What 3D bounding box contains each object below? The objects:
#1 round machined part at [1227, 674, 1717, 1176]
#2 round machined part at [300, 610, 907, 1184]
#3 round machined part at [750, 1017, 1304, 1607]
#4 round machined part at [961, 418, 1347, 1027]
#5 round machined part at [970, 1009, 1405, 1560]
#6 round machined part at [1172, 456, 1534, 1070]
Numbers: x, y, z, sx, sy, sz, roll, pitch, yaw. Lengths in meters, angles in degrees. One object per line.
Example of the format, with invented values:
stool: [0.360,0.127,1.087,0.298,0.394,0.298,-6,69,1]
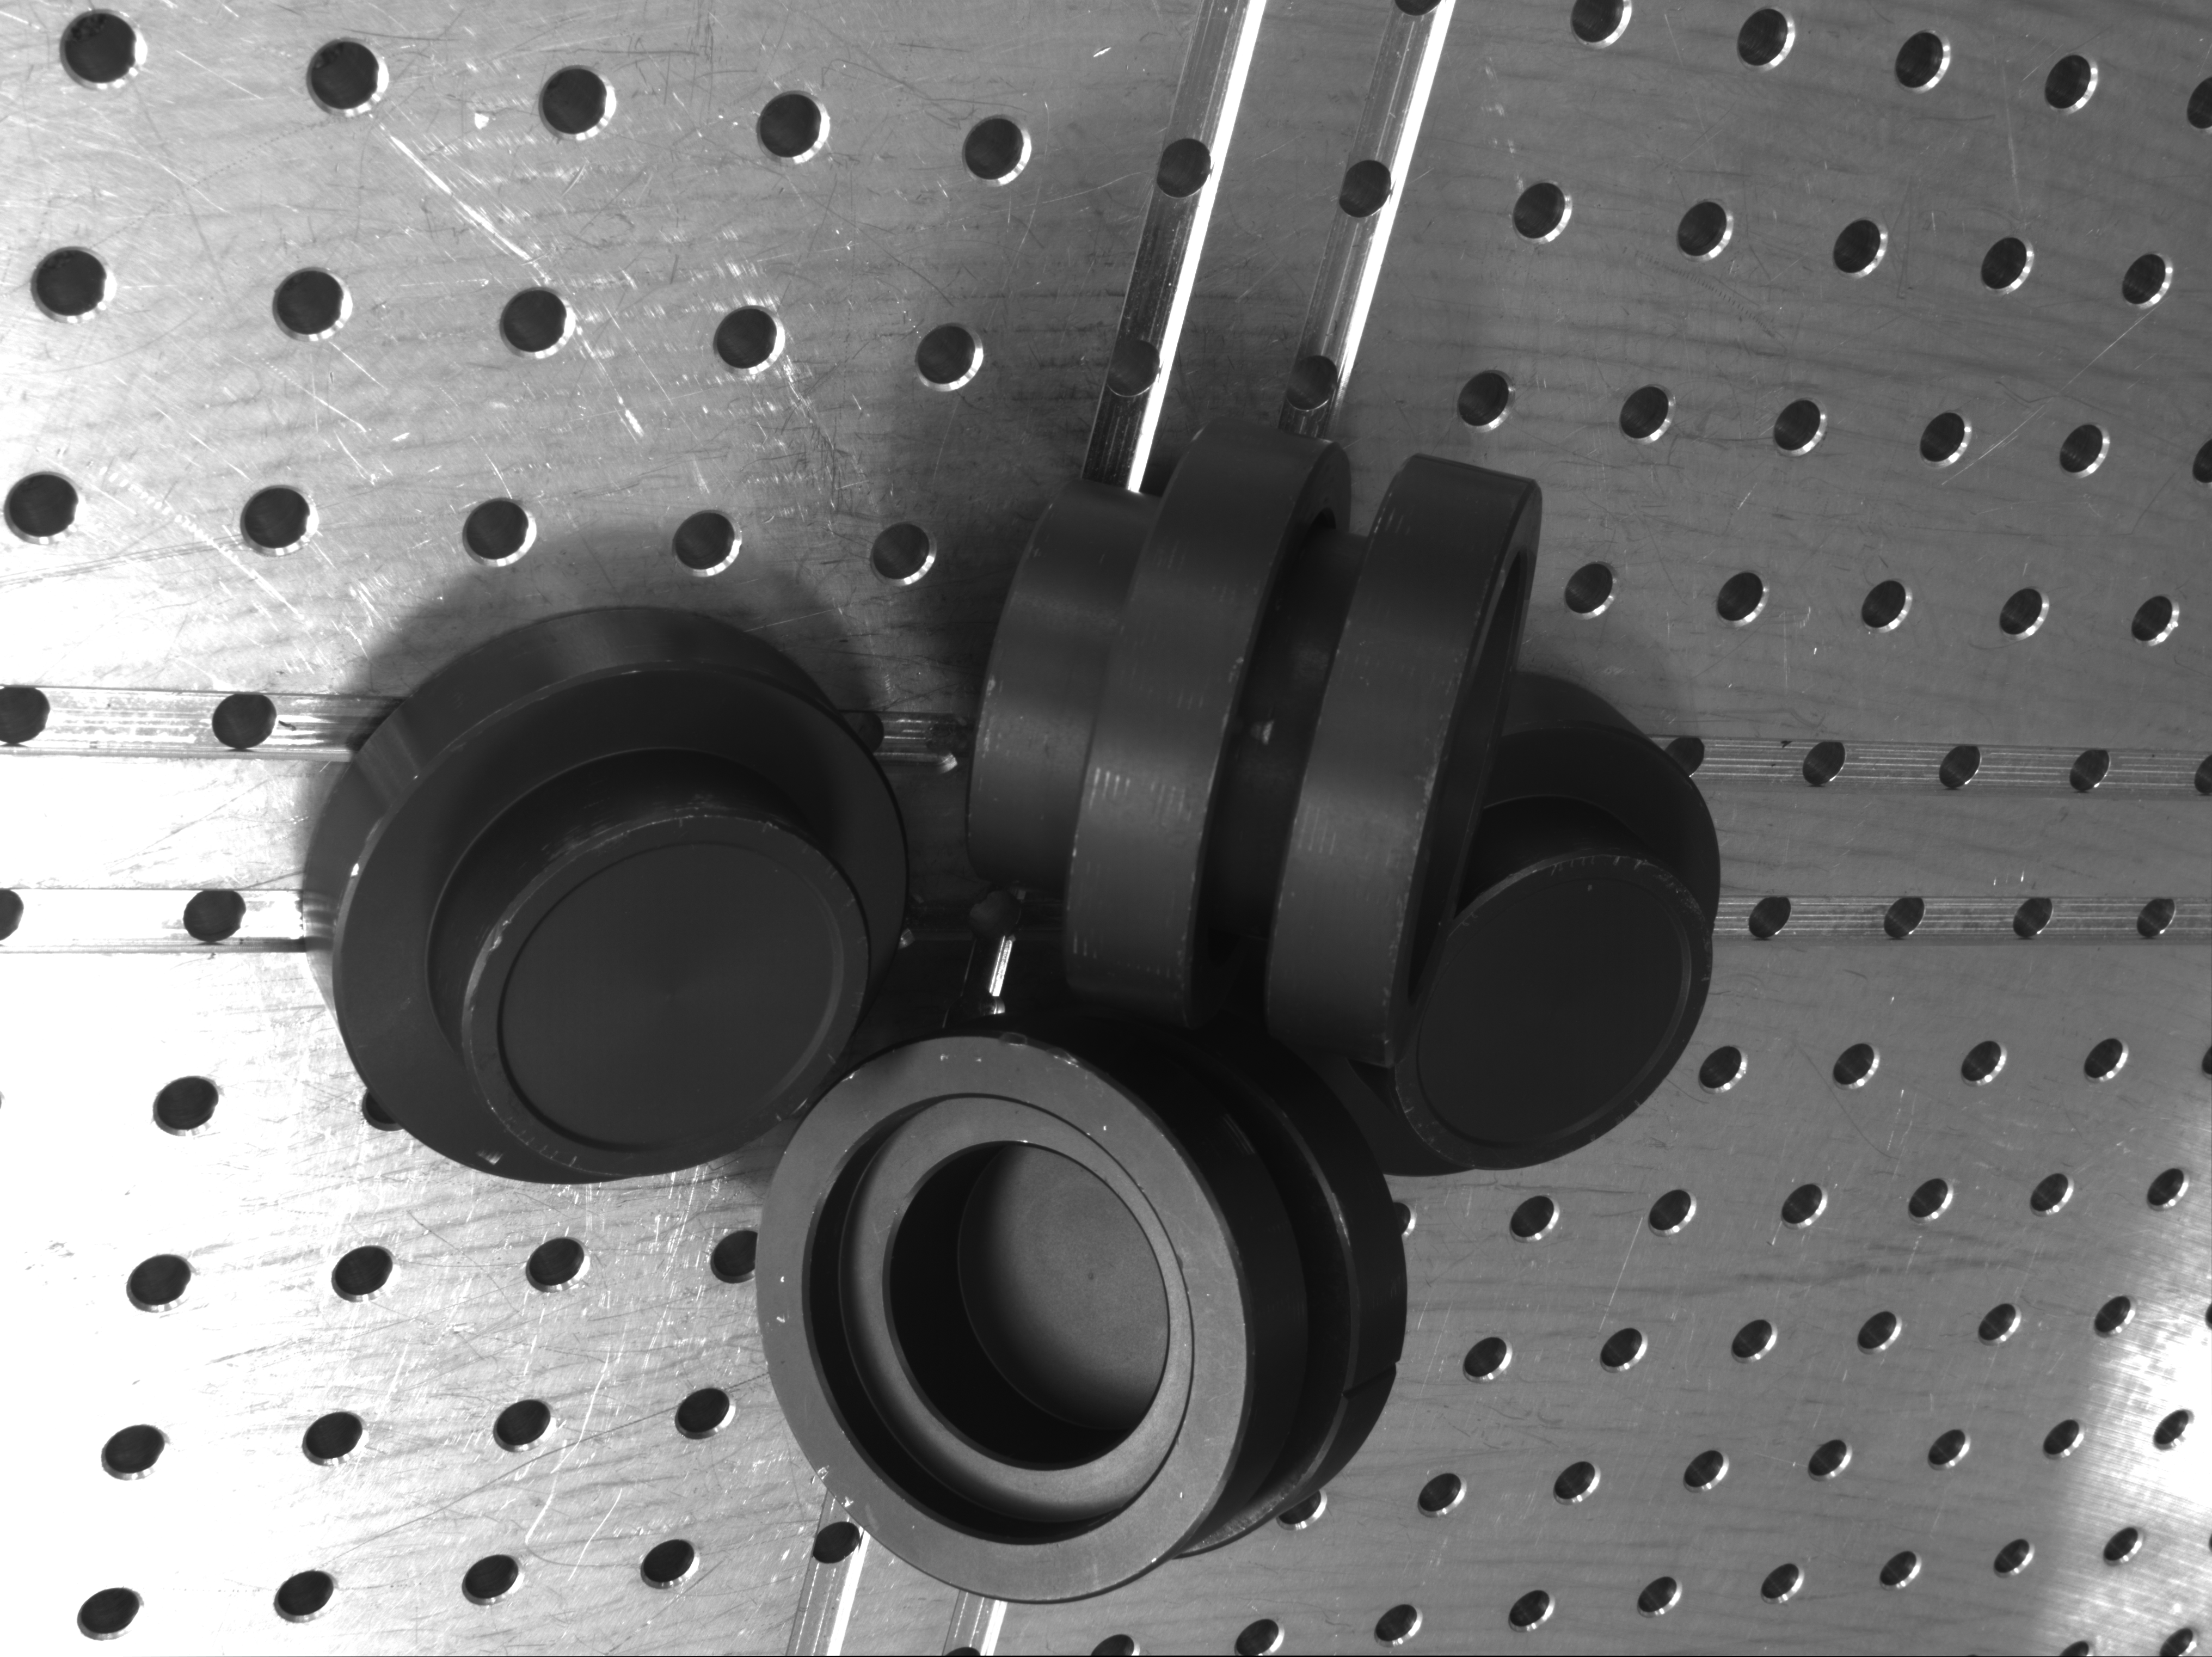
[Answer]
round machined part: [0.072,0.024,0.683,0.098,0.042,0.098,-13,124,-21]
round machined part: [-0.078,0.017,0.598,0.098,0.042,0.098,-13,124,-21]
round machined part: [-0.009,0.080,0.631,0.042,0.098,0.098,-14,131,-60]
round machined part: [0.007,-0.019,0.600,0.042,0.098,0.098,14,118,10]
round machined part: [0.009,0.078,0.658,0.042,0.098,0.098,-13,131,-60]
round machined part: [0.038,-0.013,0.598,0.042,0.098,0.098,14,118,10]
